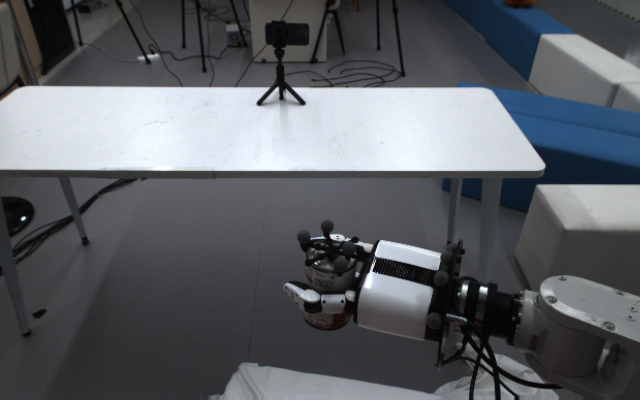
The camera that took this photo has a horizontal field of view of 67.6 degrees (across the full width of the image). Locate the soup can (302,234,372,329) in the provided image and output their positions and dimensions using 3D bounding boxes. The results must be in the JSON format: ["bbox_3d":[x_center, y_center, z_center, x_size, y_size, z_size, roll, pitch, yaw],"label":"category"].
[{"bbox_3d":[0.014,0.113,0.639,0.067,0.101,0.067,3,30,-2],"label":"soup can"}]
